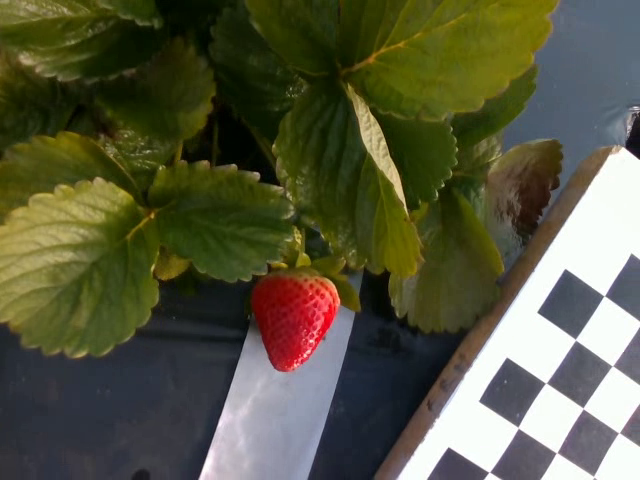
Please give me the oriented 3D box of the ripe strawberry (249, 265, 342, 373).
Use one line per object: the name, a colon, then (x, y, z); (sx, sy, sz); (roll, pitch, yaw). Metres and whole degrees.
ripe strawberry: (-0.008, 0.035, 0.240); (0.050, 0.055, 0.035); (29, -19, -17)
